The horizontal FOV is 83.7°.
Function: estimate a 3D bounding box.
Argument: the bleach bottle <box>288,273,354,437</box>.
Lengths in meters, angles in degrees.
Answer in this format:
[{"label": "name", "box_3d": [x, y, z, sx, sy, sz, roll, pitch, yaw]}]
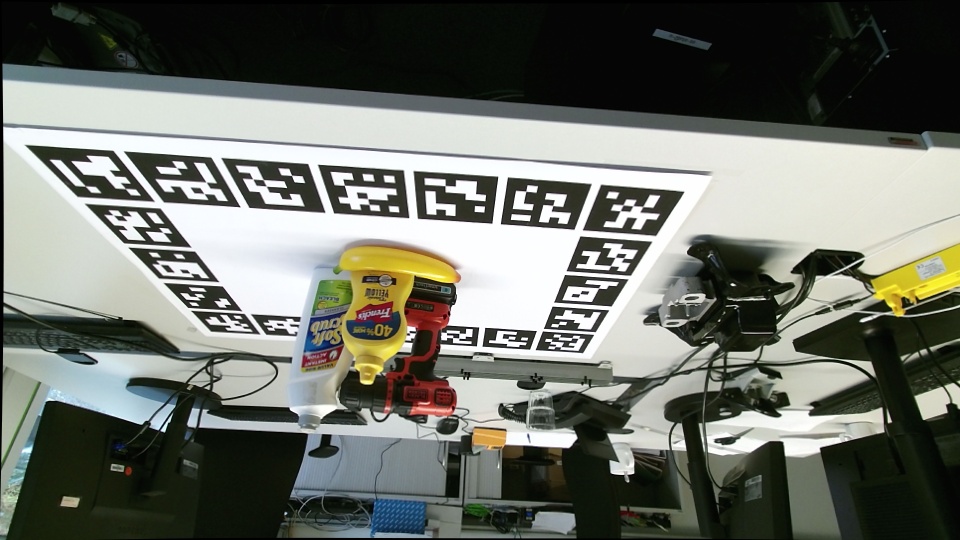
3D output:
[{"label": "bleach bottle", "box_3d": [-0.233, 0.131, 0.834, 0.103, 0.249, 0.068, 5, 153, -5]}]

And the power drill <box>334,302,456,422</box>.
[{"label": "power drill", "box_3d": [-0.123, 0.143, 0.852, 0.185, 0.186, 0.057, 12, 148, -12]}]

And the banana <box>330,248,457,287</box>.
[{"label": "banana", "box_3d": [-0.131, -0.001, 0.822, 0.198, 0.038, 0.074, 5, 147, -8]}]

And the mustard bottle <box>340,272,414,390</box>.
[{"label": "mustard bottle", "box_3d": [-0.157, 0.085, 0.801, 0.096, 0.190, 0.058, 5, 148, -2]}]
